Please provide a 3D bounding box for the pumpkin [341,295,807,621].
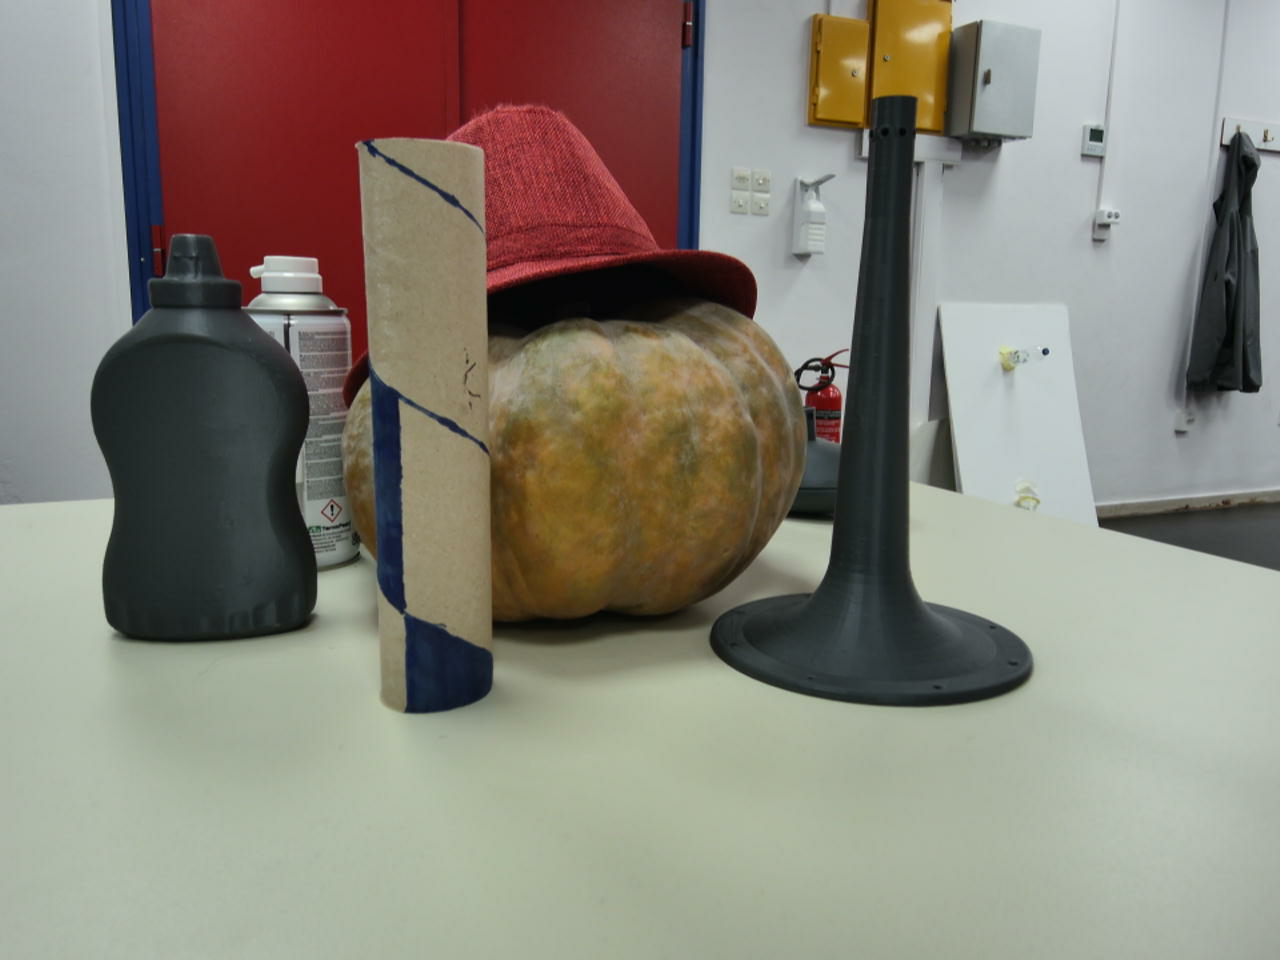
[{"bbox_3d":[-0.037,-0.017,0.545,0.252,0.168,0.252,0,8,0],"label":"pumpkin"}]
